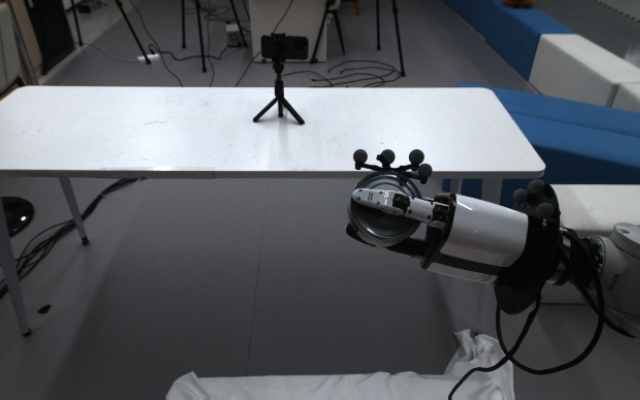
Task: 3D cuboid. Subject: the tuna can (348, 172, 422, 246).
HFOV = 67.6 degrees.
[{"bbox_3d":[0.077,0.007,0.567,0.085,0.034,0.085,1,72,-3],"label":"tuna can"}]
